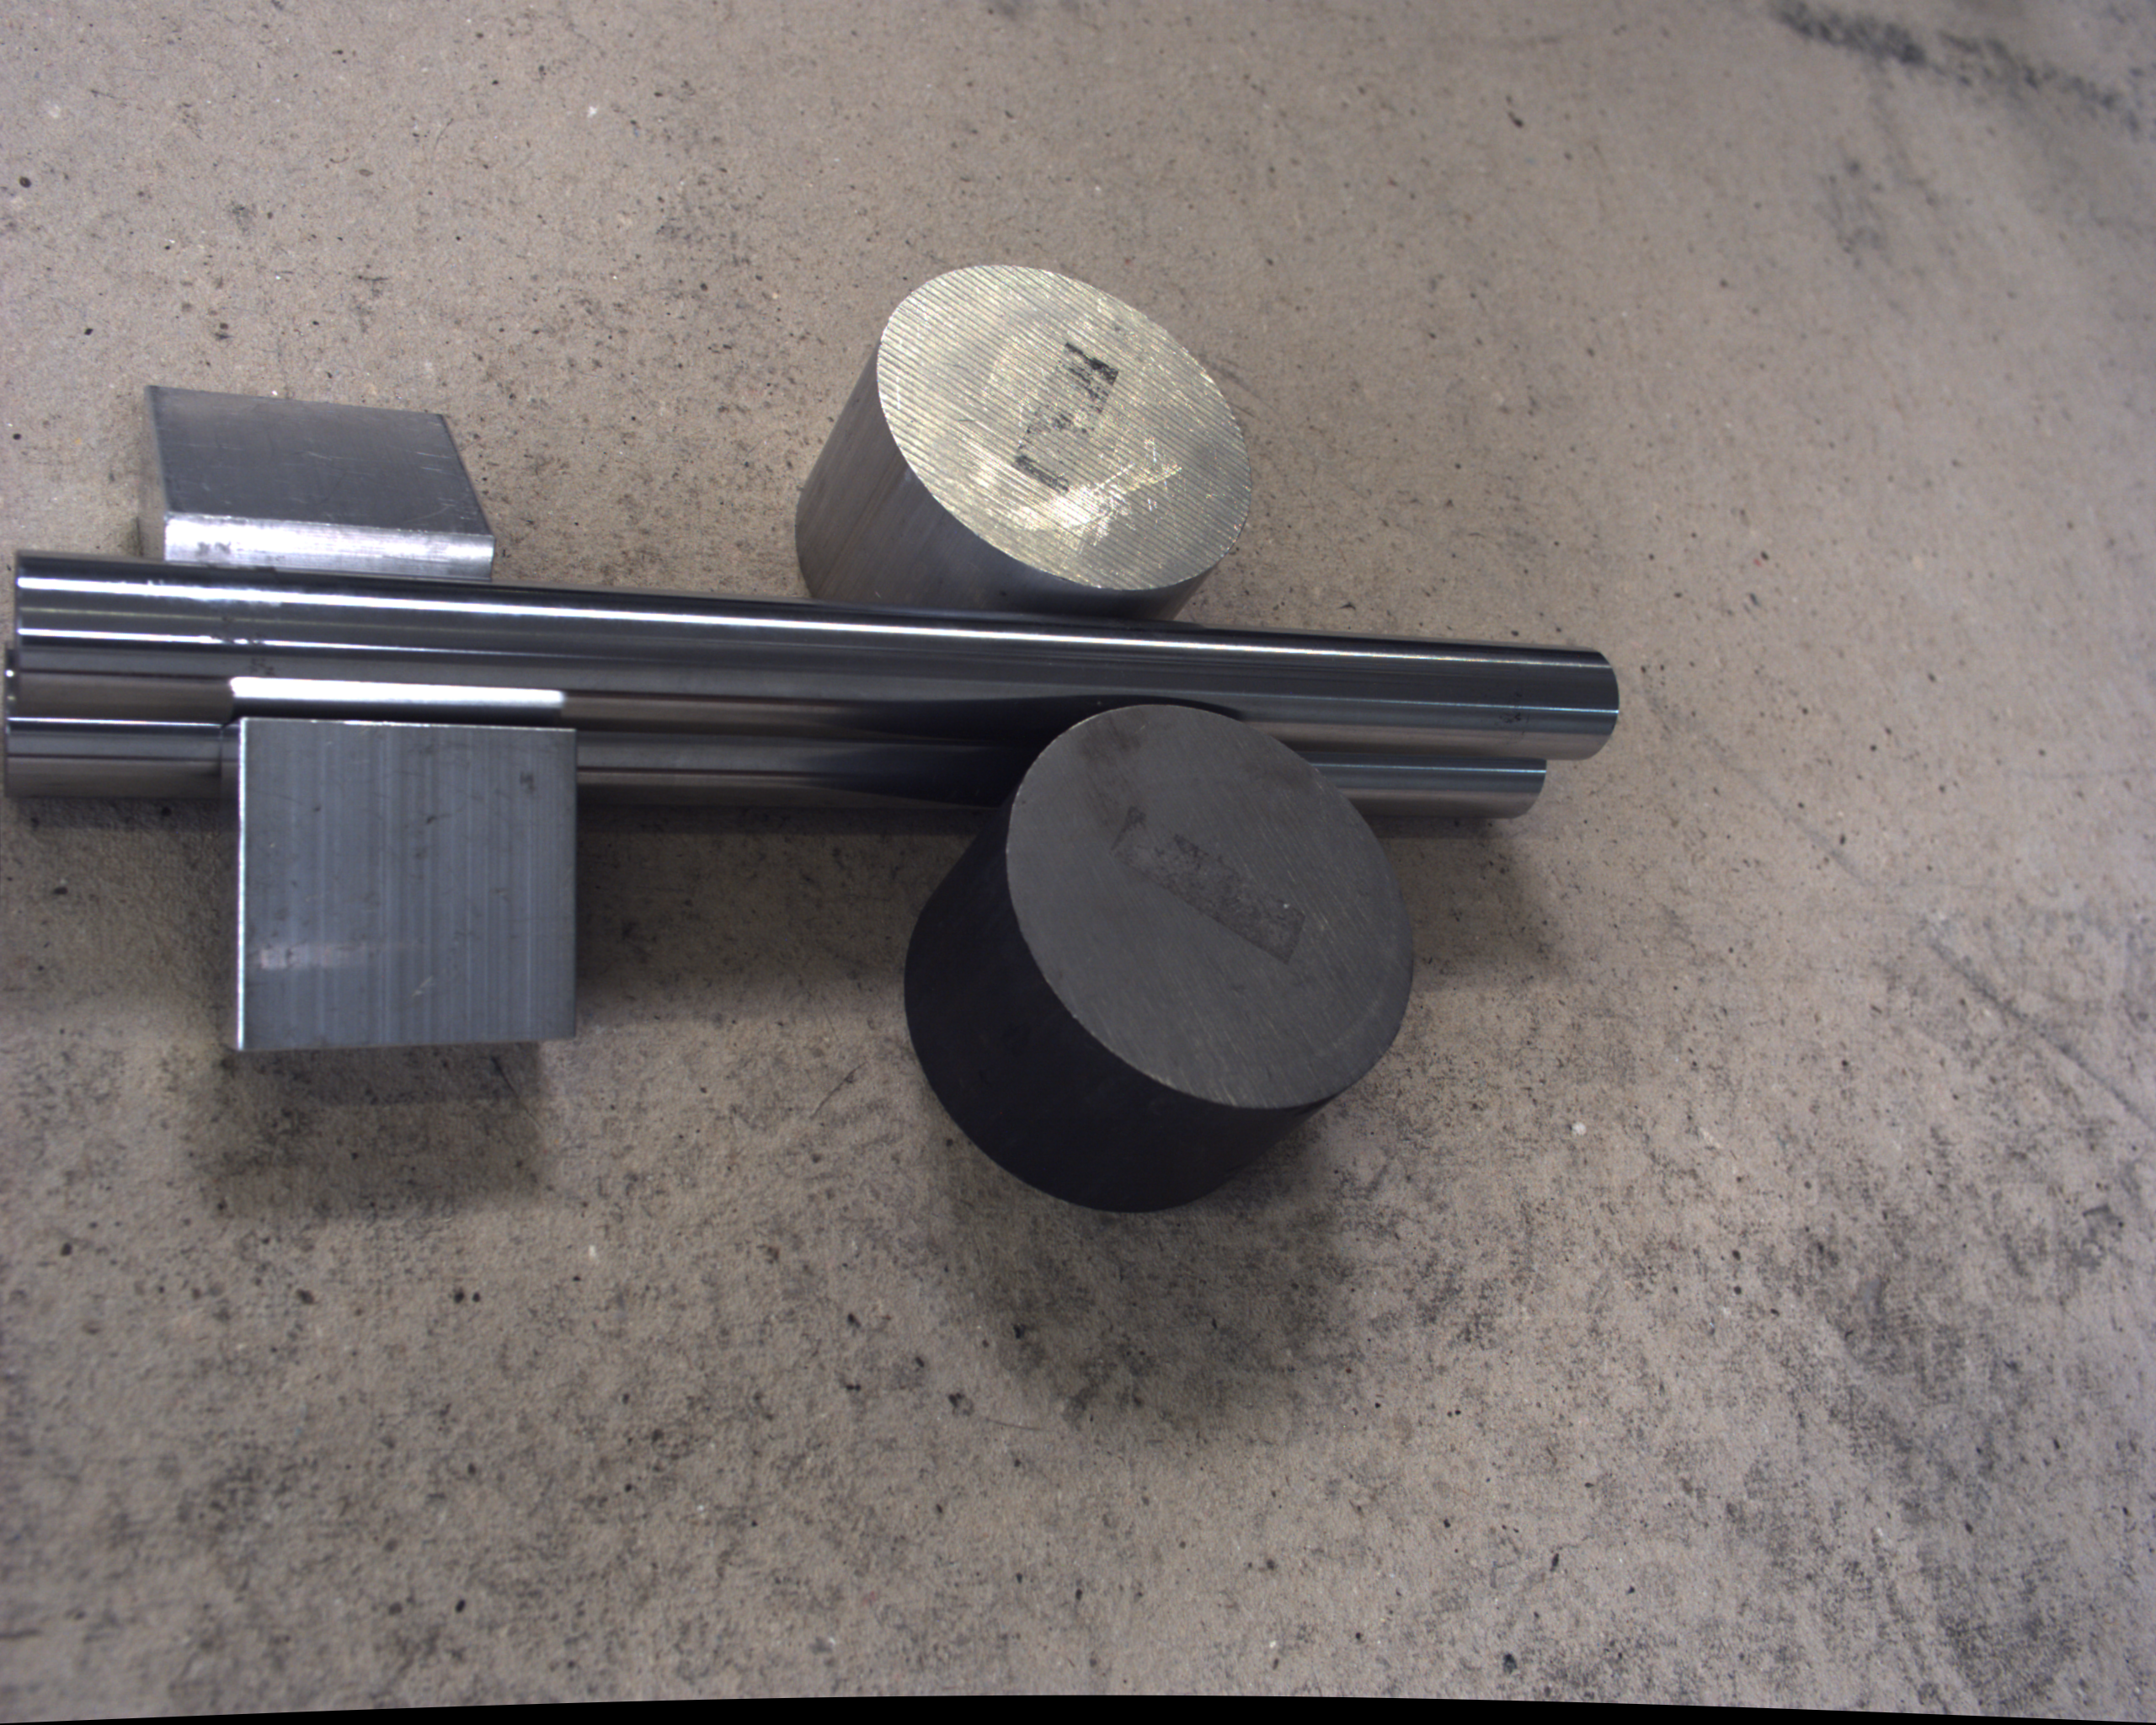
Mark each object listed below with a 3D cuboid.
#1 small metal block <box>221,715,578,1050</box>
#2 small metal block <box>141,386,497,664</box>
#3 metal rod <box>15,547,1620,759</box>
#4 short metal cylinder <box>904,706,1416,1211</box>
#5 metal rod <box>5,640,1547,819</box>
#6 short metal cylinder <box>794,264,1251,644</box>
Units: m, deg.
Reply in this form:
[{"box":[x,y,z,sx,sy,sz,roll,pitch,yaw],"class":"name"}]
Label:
[{"box":[-0.108,0.003,0.332,0.050,0.025,0.050,1,88,-29],"class":"small metal block"},{"box":[-0.131,-0.057,0.357,0.050,0.025,0.050,0,35,-28],"class":"small metal block"},{"box":[-0.025,-0.035,0.381,0.303,0.025,0.025,0,62,-28],"class":"metal rod"},{"box":[0.014,0.018,0.386,0.081,0.050,0.080,14,56,-21],"class":"short metal cylinder"},{"box":[-0.035,-0.022,0.400,0.303,0.025,0.025,0,62,-28],"class":"metal rod"},{"box":[-0.012,-0.075,0.428,0.081,0.050,0.080,14,56,-21],"class":"short metal cylinder"}]
